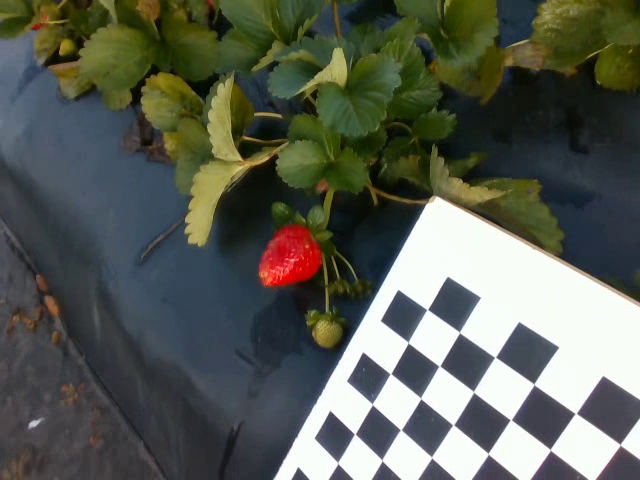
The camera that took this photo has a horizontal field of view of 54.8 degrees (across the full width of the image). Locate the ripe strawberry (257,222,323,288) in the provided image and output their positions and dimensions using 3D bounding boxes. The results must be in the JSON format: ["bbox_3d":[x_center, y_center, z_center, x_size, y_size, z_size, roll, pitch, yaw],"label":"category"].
[{"bbox_3d":[-0.026,0.018,0.448,0.043,0.052,0.057,4,26,43],"label":"ripe strawberry"}]
